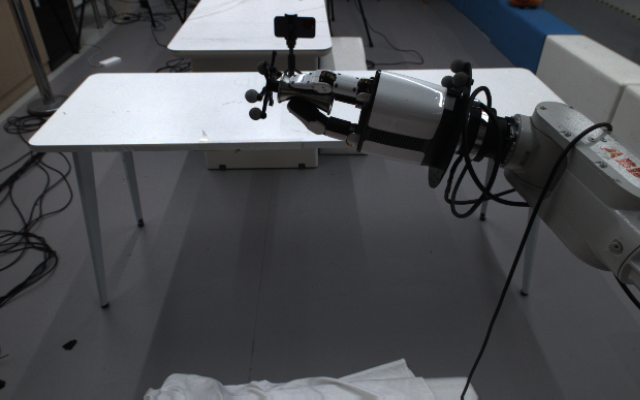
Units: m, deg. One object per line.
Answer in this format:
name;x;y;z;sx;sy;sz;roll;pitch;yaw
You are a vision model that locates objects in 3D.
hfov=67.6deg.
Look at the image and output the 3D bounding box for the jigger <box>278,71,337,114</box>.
jigger;-0.011;-0.141;0.623;0.071;0.043;0.043;13;36;4
